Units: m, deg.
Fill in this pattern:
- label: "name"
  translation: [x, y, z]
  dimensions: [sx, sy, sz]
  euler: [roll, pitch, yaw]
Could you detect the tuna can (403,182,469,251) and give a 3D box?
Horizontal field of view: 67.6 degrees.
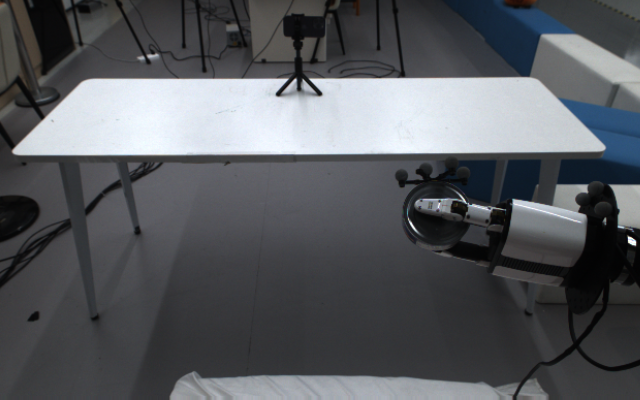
- label: "tuna can"
  translation: [0.149, 0.020, 0.619]
  dimensions: [0.085, 0.034, 0.085]
  euler: [-2, 68, 6]
